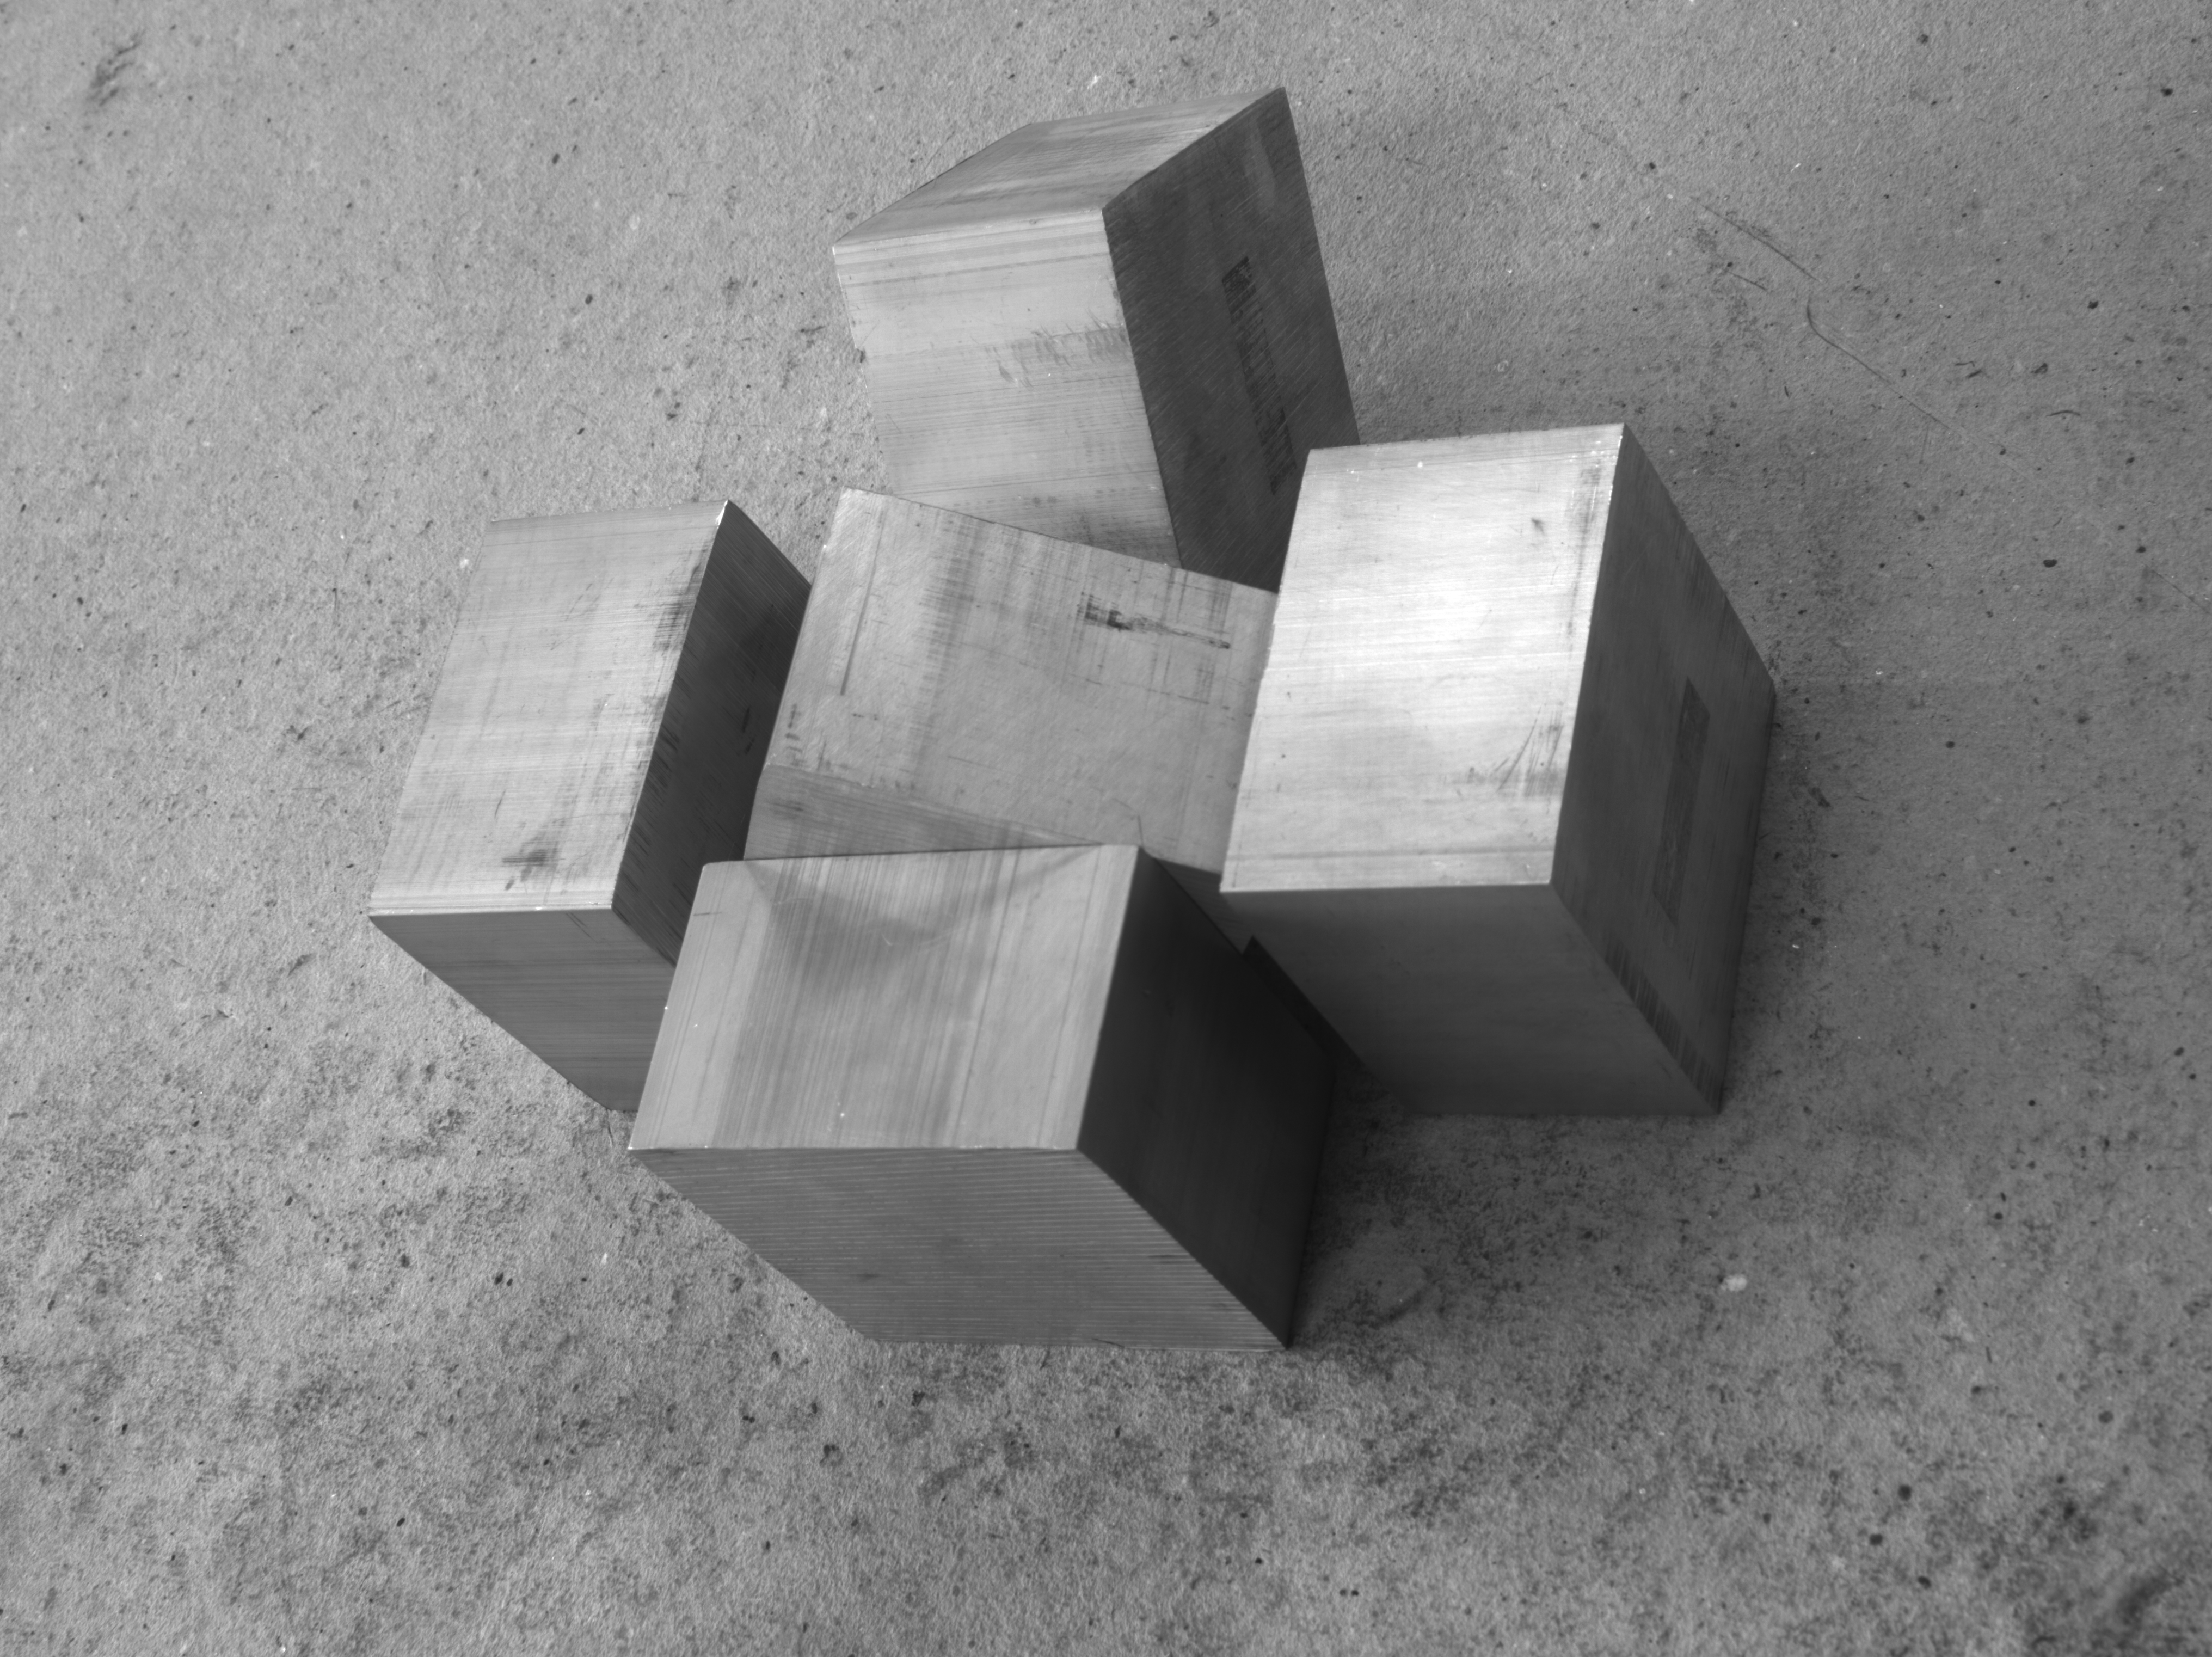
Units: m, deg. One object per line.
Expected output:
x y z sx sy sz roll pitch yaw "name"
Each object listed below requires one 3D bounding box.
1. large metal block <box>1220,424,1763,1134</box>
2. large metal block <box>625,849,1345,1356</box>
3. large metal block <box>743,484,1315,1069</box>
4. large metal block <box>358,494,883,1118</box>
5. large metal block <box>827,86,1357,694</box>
0.063 -0.006 0.579 0.050 0.080 0.080 -2 60 27 "large metal block"
-0.017 0.046 0.592 0.080 0.080 0.050 -3 60 27 "large metal block"
-0.014 -0.005 0.603 0.080 0.080 0.050 15 63 -4 "large metal block"
-0.078 -0.002 0.653 0.050 0.080 0.080 -2 60 27 "large metal block"
0.002 -0.076 0.637 0.050 0.080 0.080 -3 23 27 "large metal block"
